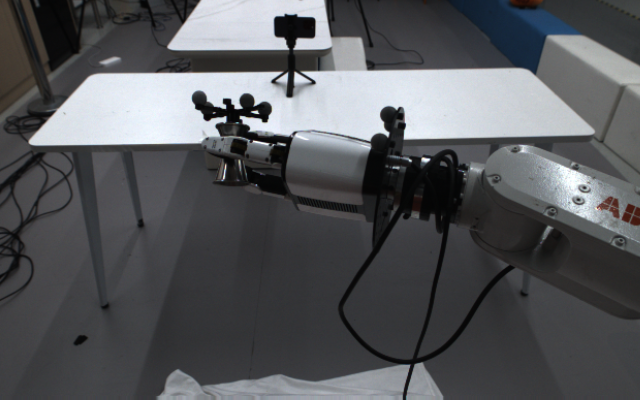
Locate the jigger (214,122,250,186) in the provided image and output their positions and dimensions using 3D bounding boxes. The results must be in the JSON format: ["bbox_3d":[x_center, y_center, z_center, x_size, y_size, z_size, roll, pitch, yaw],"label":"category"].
[{"bbox_3d":[-0.102,-0.052,0.563,0.043,0.071,0.043,1,-5,0],"label":"jigger"}]
